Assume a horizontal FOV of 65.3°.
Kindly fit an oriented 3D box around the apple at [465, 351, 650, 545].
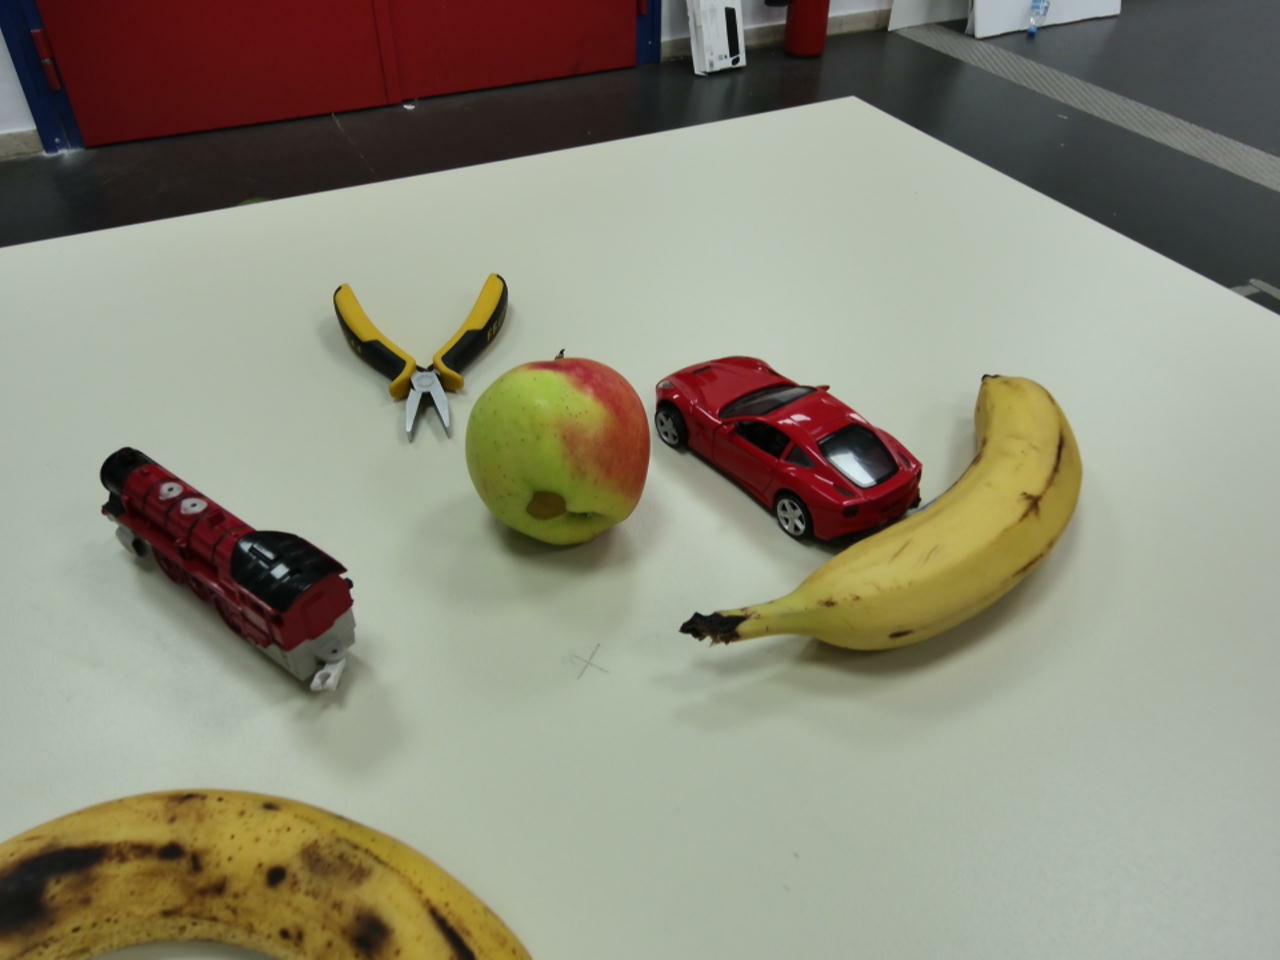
[{"bbox_3d":[-0.032,-0.013,0.405,0.075,0.074,0.075,31,47,33],"label":"apple"}]
